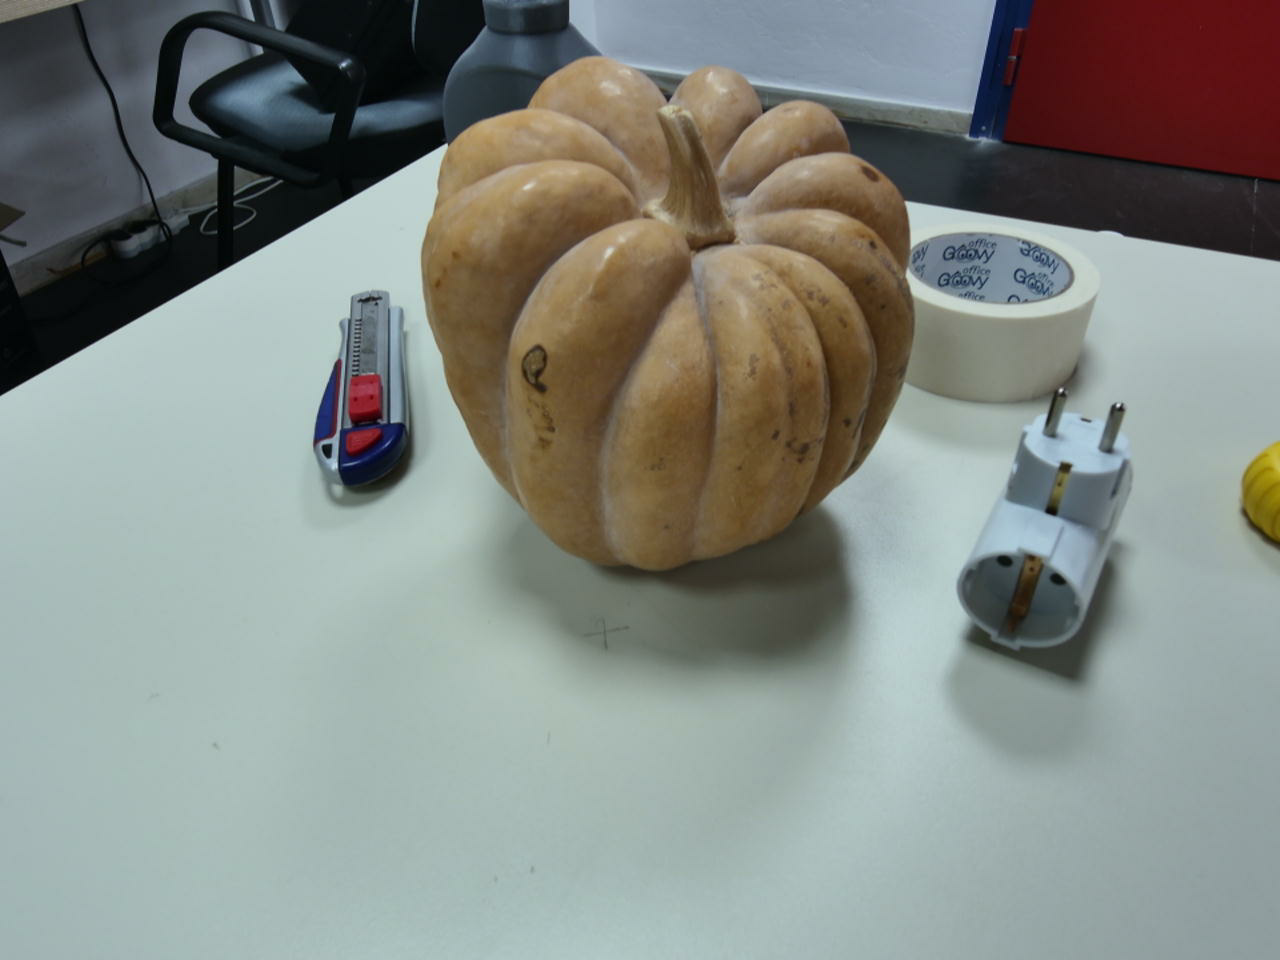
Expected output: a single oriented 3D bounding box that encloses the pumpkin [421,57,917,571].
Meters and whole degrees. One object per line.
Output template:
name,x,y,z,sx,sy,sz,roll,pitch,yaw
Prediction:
pumpkin,0.010,-0.063,0.397,0.199,0.177,0.198,0,38,0
